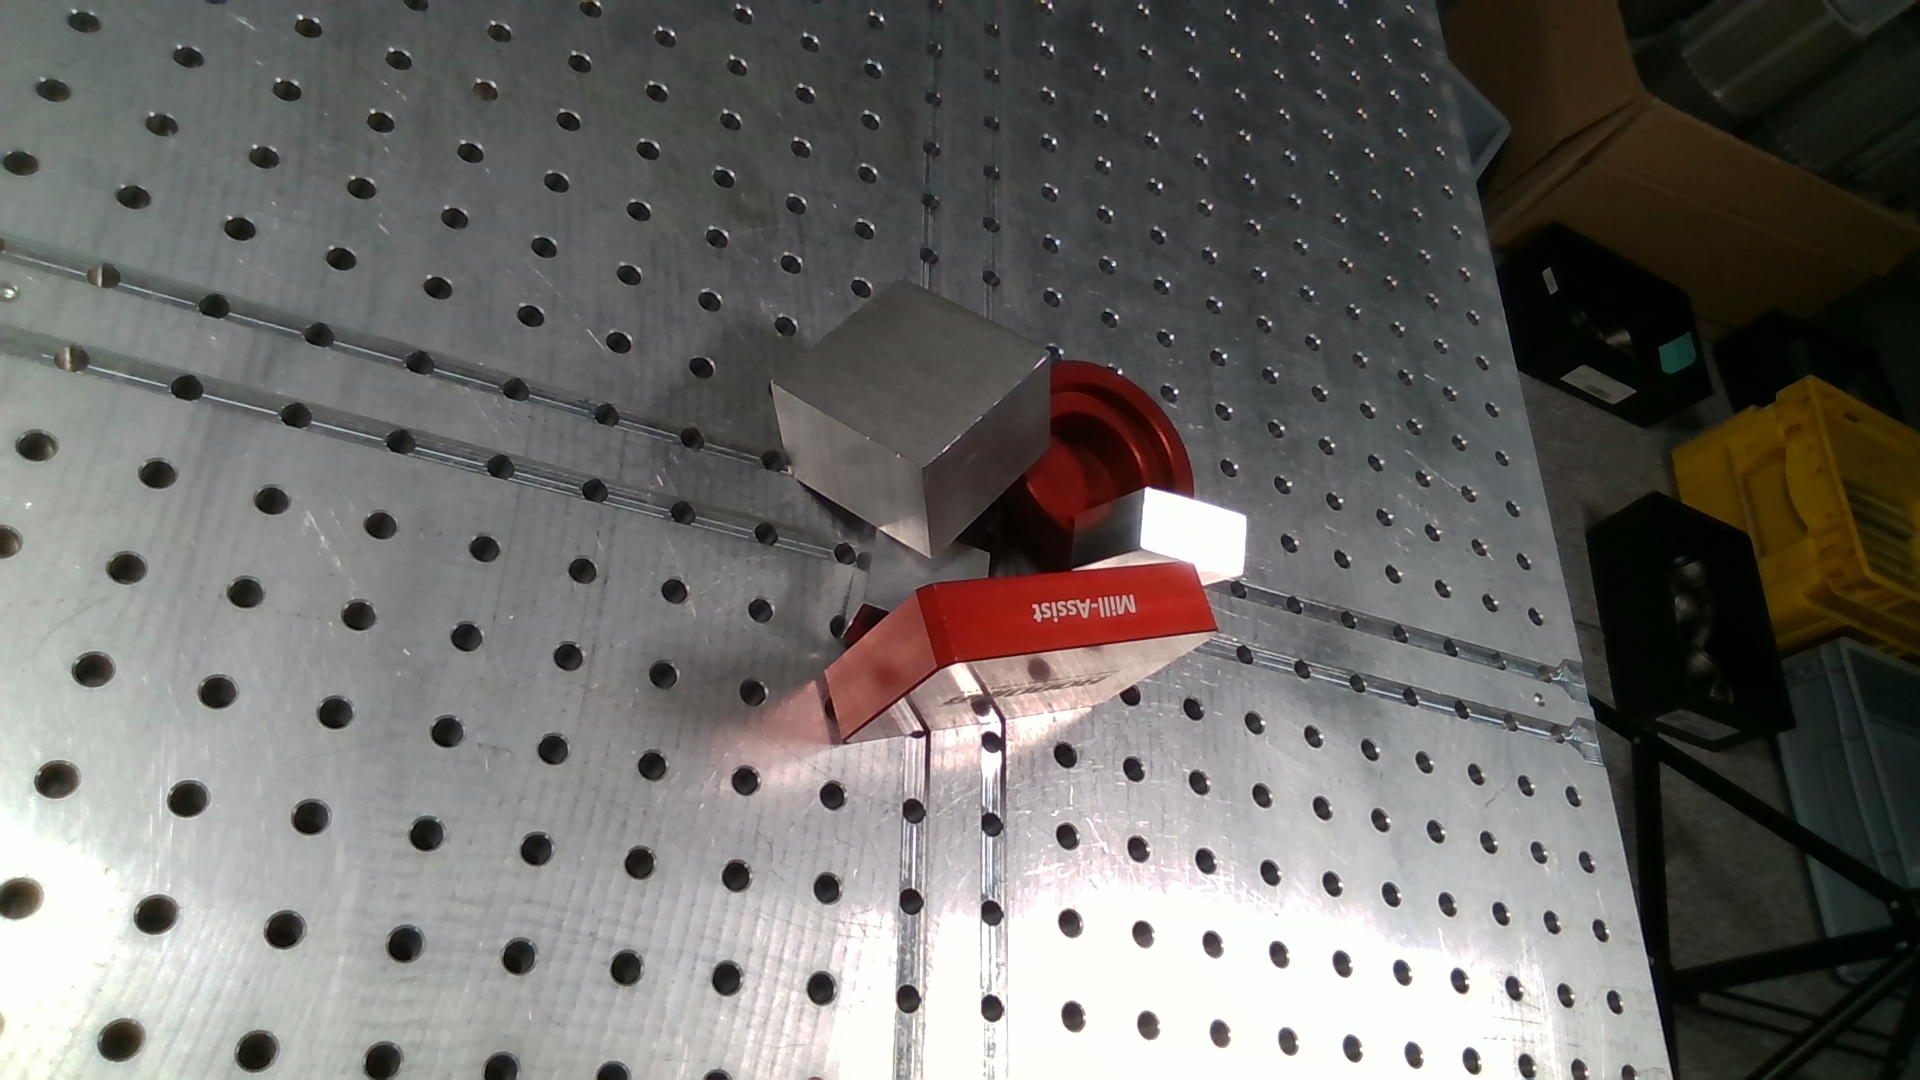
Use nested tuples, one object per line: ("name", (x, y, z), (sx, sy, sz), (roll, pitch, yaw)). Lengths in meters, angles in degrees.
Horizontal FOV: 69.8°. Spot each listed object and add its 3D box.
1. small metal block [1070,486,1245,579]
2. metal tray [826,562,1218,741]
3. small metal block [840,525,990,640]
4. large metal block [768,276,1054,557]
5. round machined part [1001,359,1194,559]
("small metal block", (0.081, 0.001, 0.569), (0.050, 0.050, 0.025), (15, 72, -26))
("metal tray", (0.024, 0.044, 0.539), (0.130, 0.090, 0.030), (-4, 67, -33))
("small metal block", (-0.017, 0.023, 0.560), (0.050, 0.025, 0.050), (22, 44, -15))
("large metal block", (-0.018, -0.052, 0.561), (0.080, 0.050, 0.080), (30, 58, 26))
("round machined part", (0.055, -0.030, 0.628), (0.098, 0.042, 0.098), (14, 59, -25))
